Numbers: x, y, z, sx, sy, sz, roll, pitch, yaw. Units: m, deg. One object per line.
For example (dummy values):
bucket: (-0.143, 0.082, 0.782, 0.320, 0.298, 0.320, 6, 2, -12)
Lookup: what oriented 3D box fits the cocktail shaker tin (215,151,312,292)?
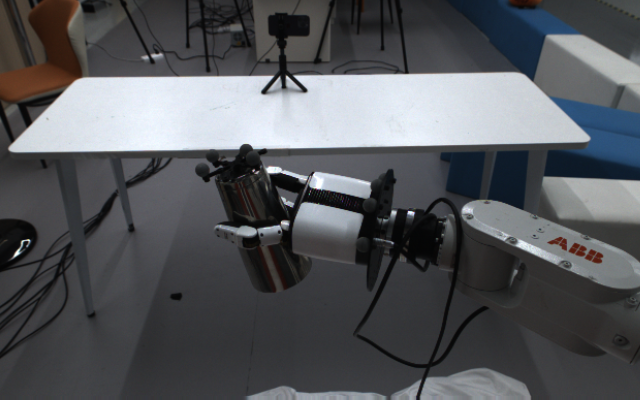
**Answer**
cocktail shaker tin: (-0.079, 0.032, 0.657, 0.093, 0.170, 0.093, -15, 29, 8)
